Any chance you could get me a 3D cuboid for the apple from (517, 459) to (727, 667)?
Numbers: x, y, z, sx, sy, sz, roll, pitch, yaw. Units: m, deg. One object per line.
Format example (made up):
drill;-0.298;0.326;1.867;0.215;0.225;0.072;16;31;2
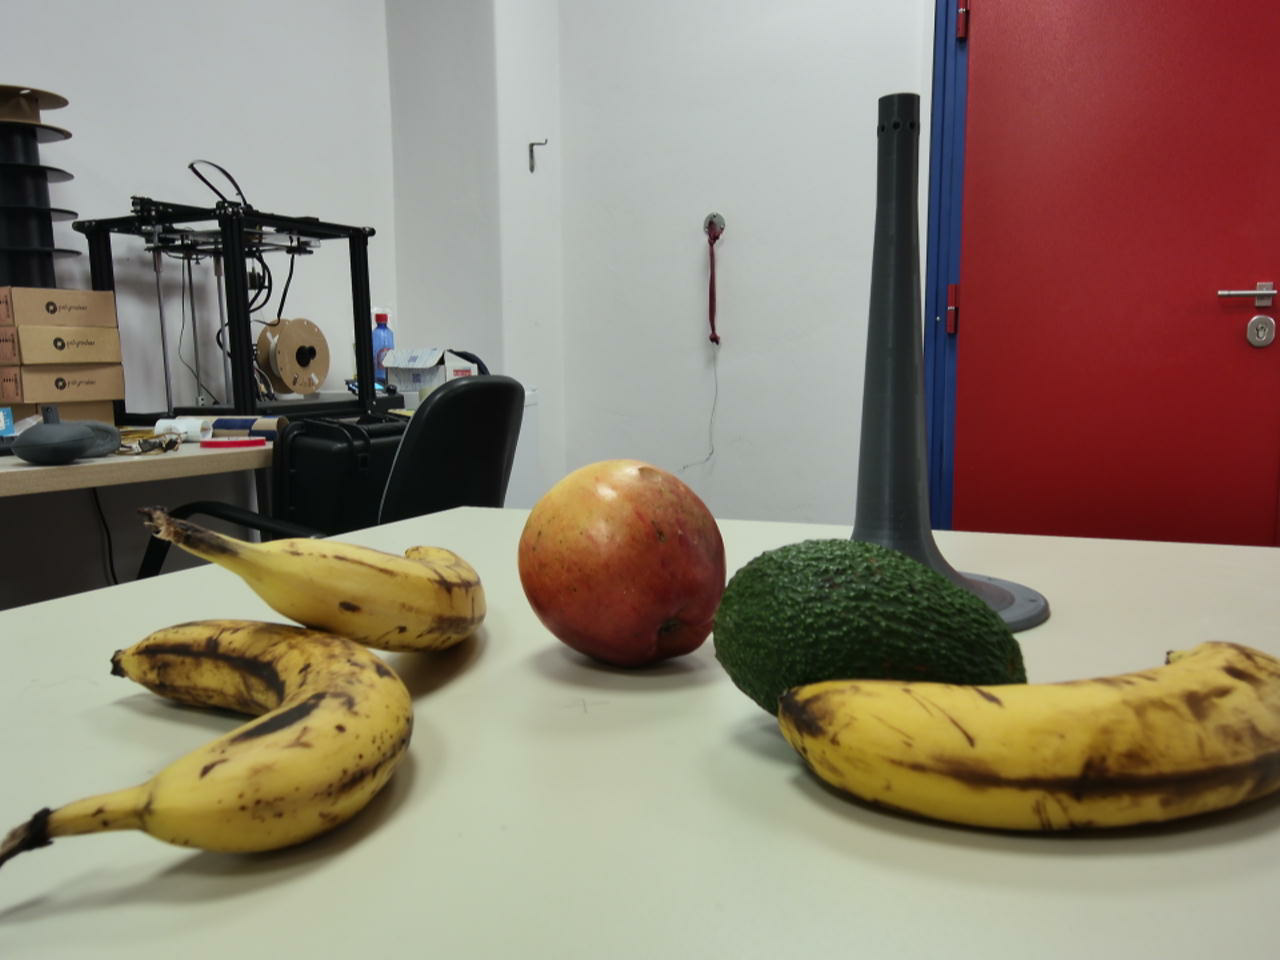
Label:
apple;-0.008;0.034;0.428;0.086;0.084;0.093;-1;4;-11
